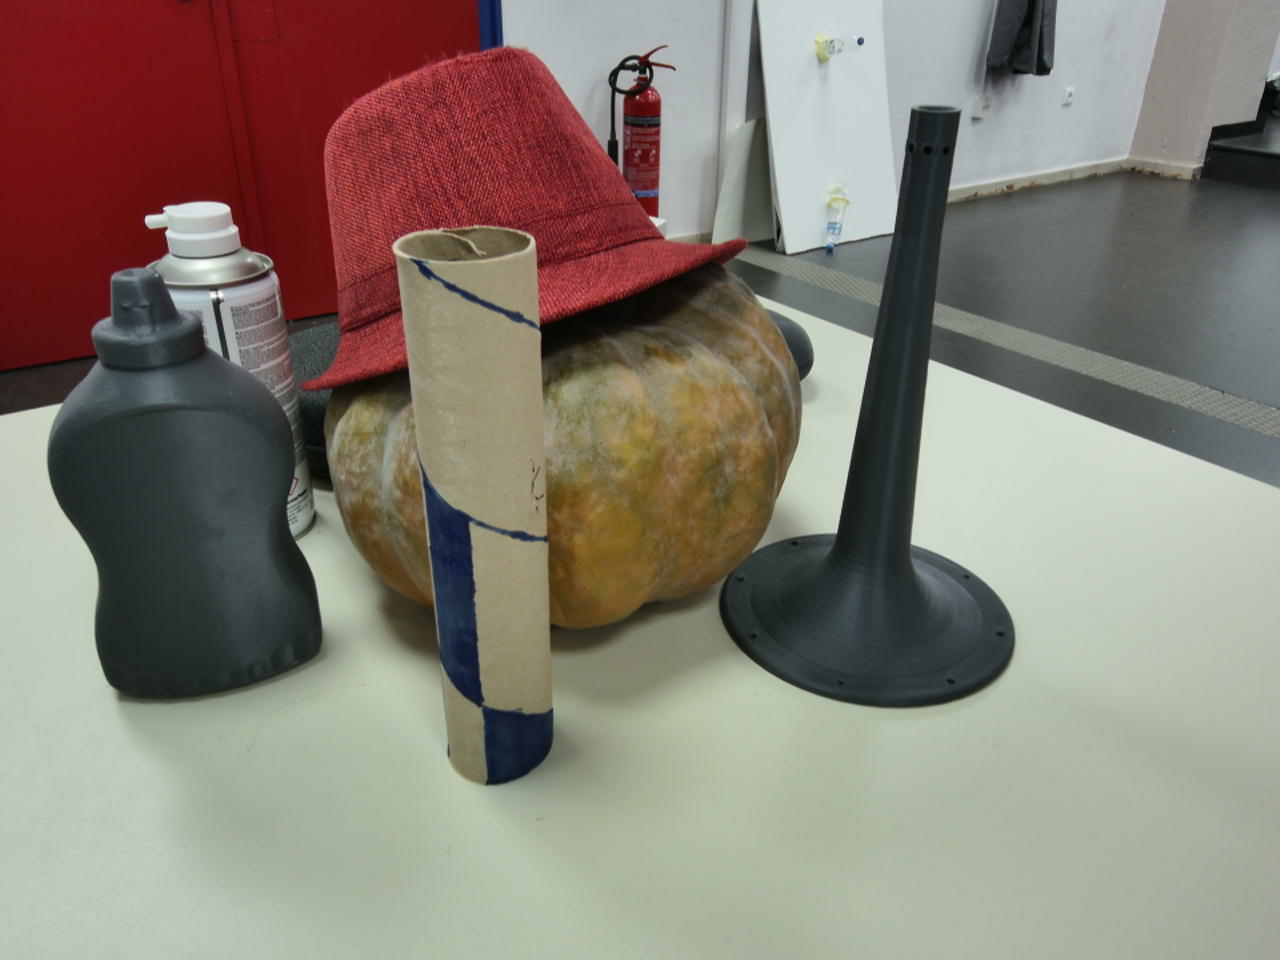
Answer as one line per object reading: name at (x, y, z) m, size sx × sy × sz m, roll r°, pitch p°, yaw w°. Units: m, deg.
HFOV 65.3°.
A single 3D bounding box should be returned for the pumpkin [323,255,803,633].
pumpkin at (-0.041, -0.026, 0.528) m, size 0.252 × 0.169 × 0.251 m, roll 0°, pitch 26°, yaw 0°
